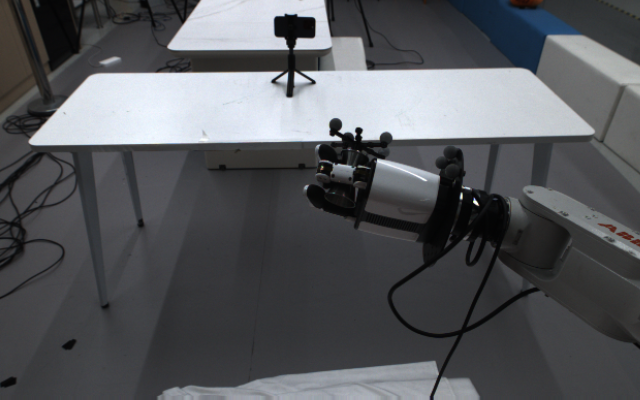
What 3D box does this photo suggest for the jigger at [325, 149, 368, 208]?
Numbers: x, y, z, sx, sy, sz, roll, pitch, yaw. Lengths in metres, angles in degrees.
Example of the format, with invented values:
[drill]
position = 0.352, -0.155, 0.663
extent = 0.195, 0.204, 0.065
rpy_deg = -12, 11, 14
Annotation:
[jigger]
position = 0.039, -0.029, 0.643
extent = 0.043, 0.043, 0.071
rpy_deg = 12, 71, 14
